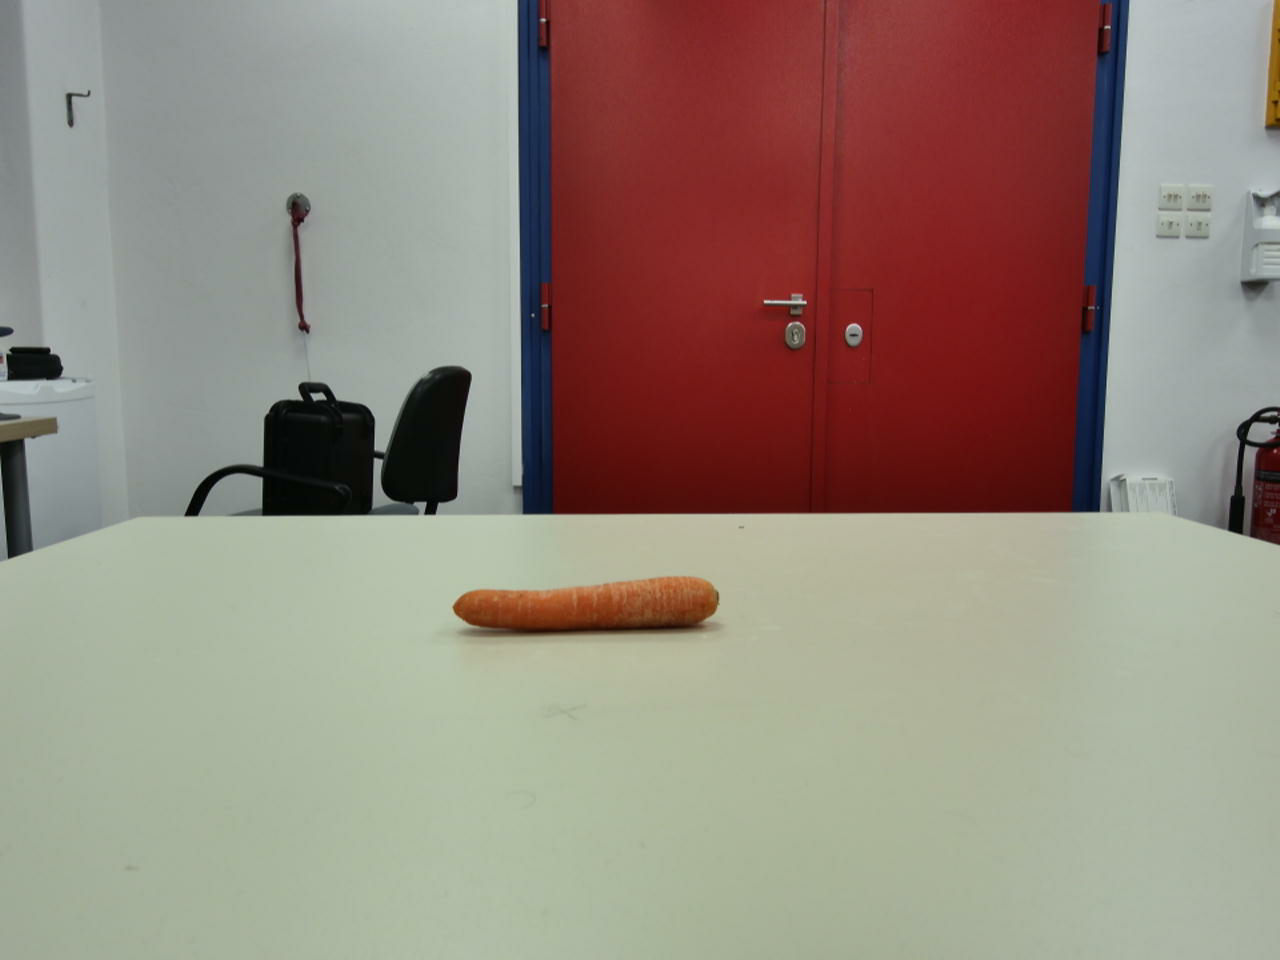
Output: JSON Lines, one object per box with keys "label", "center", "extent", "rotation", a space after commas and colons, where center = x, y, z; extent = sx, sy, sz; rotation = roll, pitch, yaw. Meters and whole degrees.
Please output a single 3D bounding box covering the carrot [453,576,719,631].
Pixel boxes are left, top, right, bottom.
{"label": "carrot", "center": [-0.024, 0.057, 0.462], "extent": [0.122, 0.023, 0.024], "rotation": [0, 4, -4]}
